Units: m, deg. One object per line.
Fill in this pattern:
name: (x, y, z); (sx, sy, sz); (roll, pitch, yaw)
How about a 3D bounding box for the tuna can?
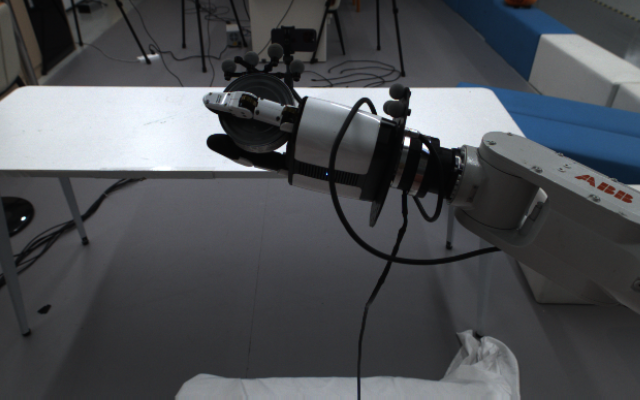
tuna can: (-0.069, -0.098, 0.548); (0.085, 0.034, 0.085); (-1, 76, 4)
